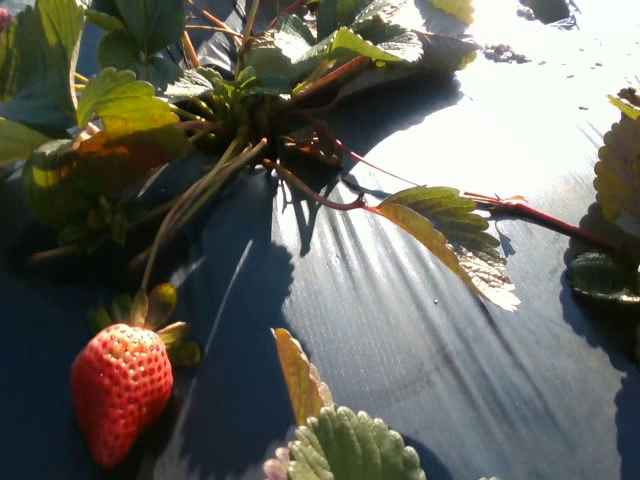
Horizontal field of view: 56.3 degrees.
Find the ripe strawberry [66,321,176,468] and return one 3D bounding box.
[{"bbox_3d":[-0.072,0.055,0.210,0.044,0.064,0.043,-38,-52,24],"label":"ripe strawberry"}]
